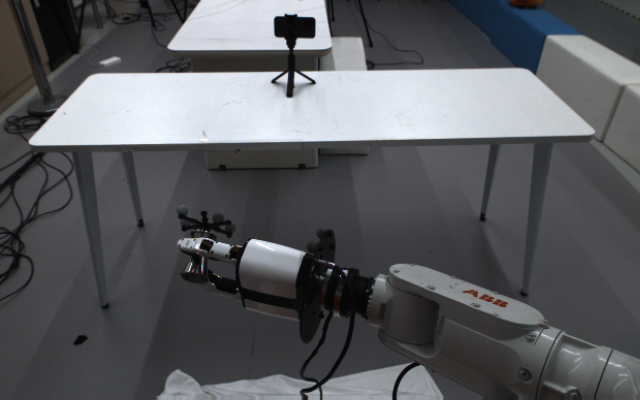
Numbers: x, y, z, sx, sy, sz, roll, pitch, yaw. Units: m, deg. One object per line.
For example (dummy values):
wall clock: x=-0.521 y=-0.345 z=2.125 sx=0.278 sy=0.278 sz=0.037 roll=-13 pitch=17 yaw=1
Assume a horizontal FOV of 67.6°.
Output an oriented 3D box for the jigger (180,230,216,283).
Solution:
jigger: x=-0.179 y=0.081 z=0.709 sx=0.043 sy=0.043 sz=0.071 roll=4 pitch=61 yaw=3
